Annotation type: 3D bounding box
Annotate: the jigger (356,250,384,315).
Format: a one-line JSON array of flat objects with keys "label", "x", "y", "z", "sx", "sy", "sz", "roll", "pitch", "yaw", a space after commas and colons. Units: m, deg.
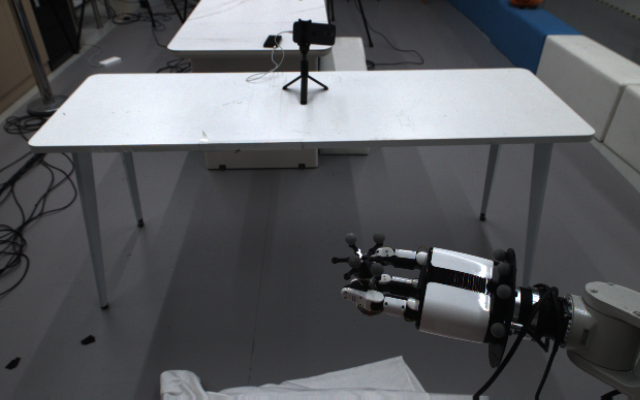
[{"label": "jigger", "x": 0.070, "y": 0.121, "z": 0.688, "sx": 0.043, "sy": 0.071, "sz": 0.043, "roll": -9, "pitch": 31, "yaw": 5}]
